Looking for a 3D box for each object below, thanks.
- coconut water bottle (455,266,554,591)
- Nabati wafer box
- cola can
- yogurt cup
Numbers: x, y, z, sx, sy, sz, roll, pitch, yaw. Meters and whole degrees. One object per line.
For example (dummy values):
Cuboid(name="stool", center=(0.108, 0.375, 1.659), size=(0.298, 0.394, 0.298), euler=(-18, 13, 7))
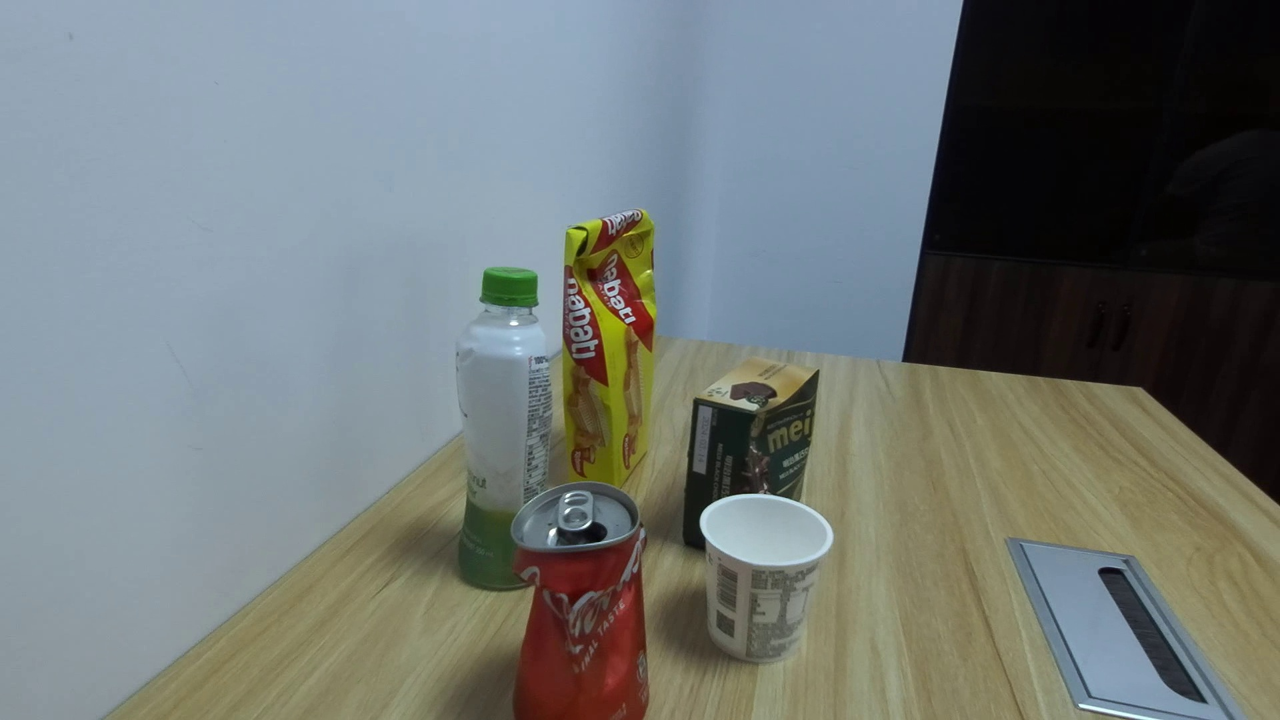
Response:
Cuboid(name="coconut water bottle", center=(-0.080, 0.040, 0.425), size=(0.069, 0.187, 0.069), euler=(2, 17, 0))
Cuboid(name="Nabati wafer box", center=(-0.021, -0.007, 0.544), size=(0.042, 0.205, 0.113), euler=(6, 20, 17))
Cuboid(name="cola can", center=(-0.026, 0.122, 0.331), size=(0.065, 0.112, 0.069), euler=(13, 19, 35))
Cuboid(name="yogurt cup", center=(0.065, 0.120, 0.387), size=(0.072, 0.068, 0.072), euler=(1, 20, 0))
